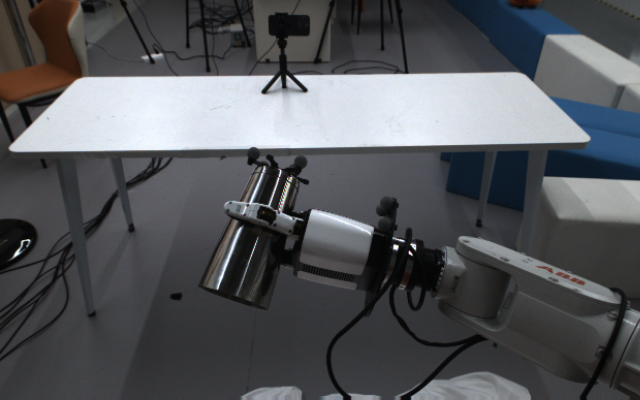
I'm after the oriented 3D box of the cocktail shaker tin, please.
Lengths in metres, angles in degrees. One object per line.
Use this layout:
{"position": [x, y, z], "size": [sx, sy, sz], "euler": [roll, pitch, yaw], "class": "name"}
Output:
{"position": [-0.085, 0.045, 0.624], "size": [0.093, 0.093, 0.170], "euler": [13, 70, 15], "class": "cocktail shaker tin"}
